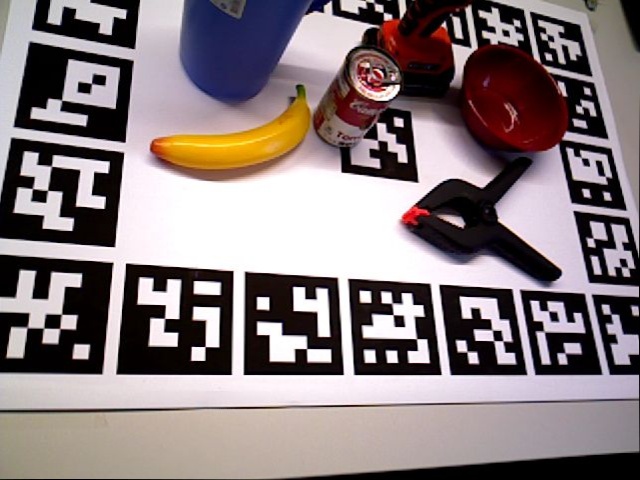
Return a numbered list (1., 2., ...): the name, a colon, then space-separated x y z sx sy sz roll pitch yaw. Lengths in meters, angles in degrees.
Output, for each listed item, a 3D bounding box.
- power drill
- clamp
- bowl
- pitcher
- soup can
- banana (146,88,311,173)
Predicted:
1. power drill: 0.167 -0.265 0.604 0.182 0.191 0.057 -1 70 -22
2. clamp: 0.198 -0.028 0.630 0.200 0.037 0.164 1 75 -20
3. bowl: 0.243 -0.174 0.696 0.160 0.056 0.160 6 70 -18
4. pitcher: -0.049 -0.249 0.507 0.185 0.248 0.133 -22 76 -27
5. soup can: 0.043 -0.158 0.590 0.067 0.104 0.067 9 59 -16
6. banana: -0.080 -0.107 0.563 0.193 0.040 0.074 -23 72 -28
